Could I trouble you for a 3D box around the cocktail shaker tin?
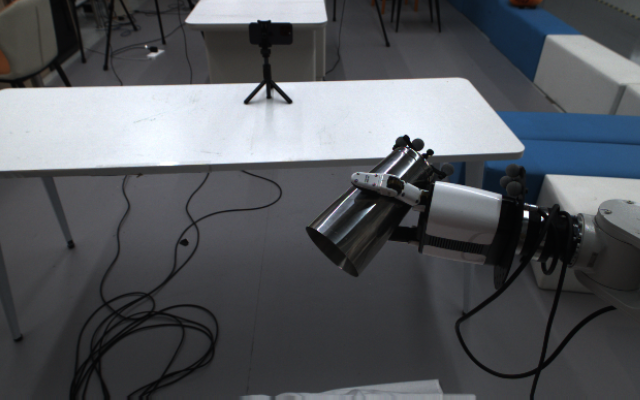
[{"bbox_3d":[0.072,0.004,0.642,0.170,0.093,0.093,-43,50,-14],"label":"cocktail shaker tin"}]
